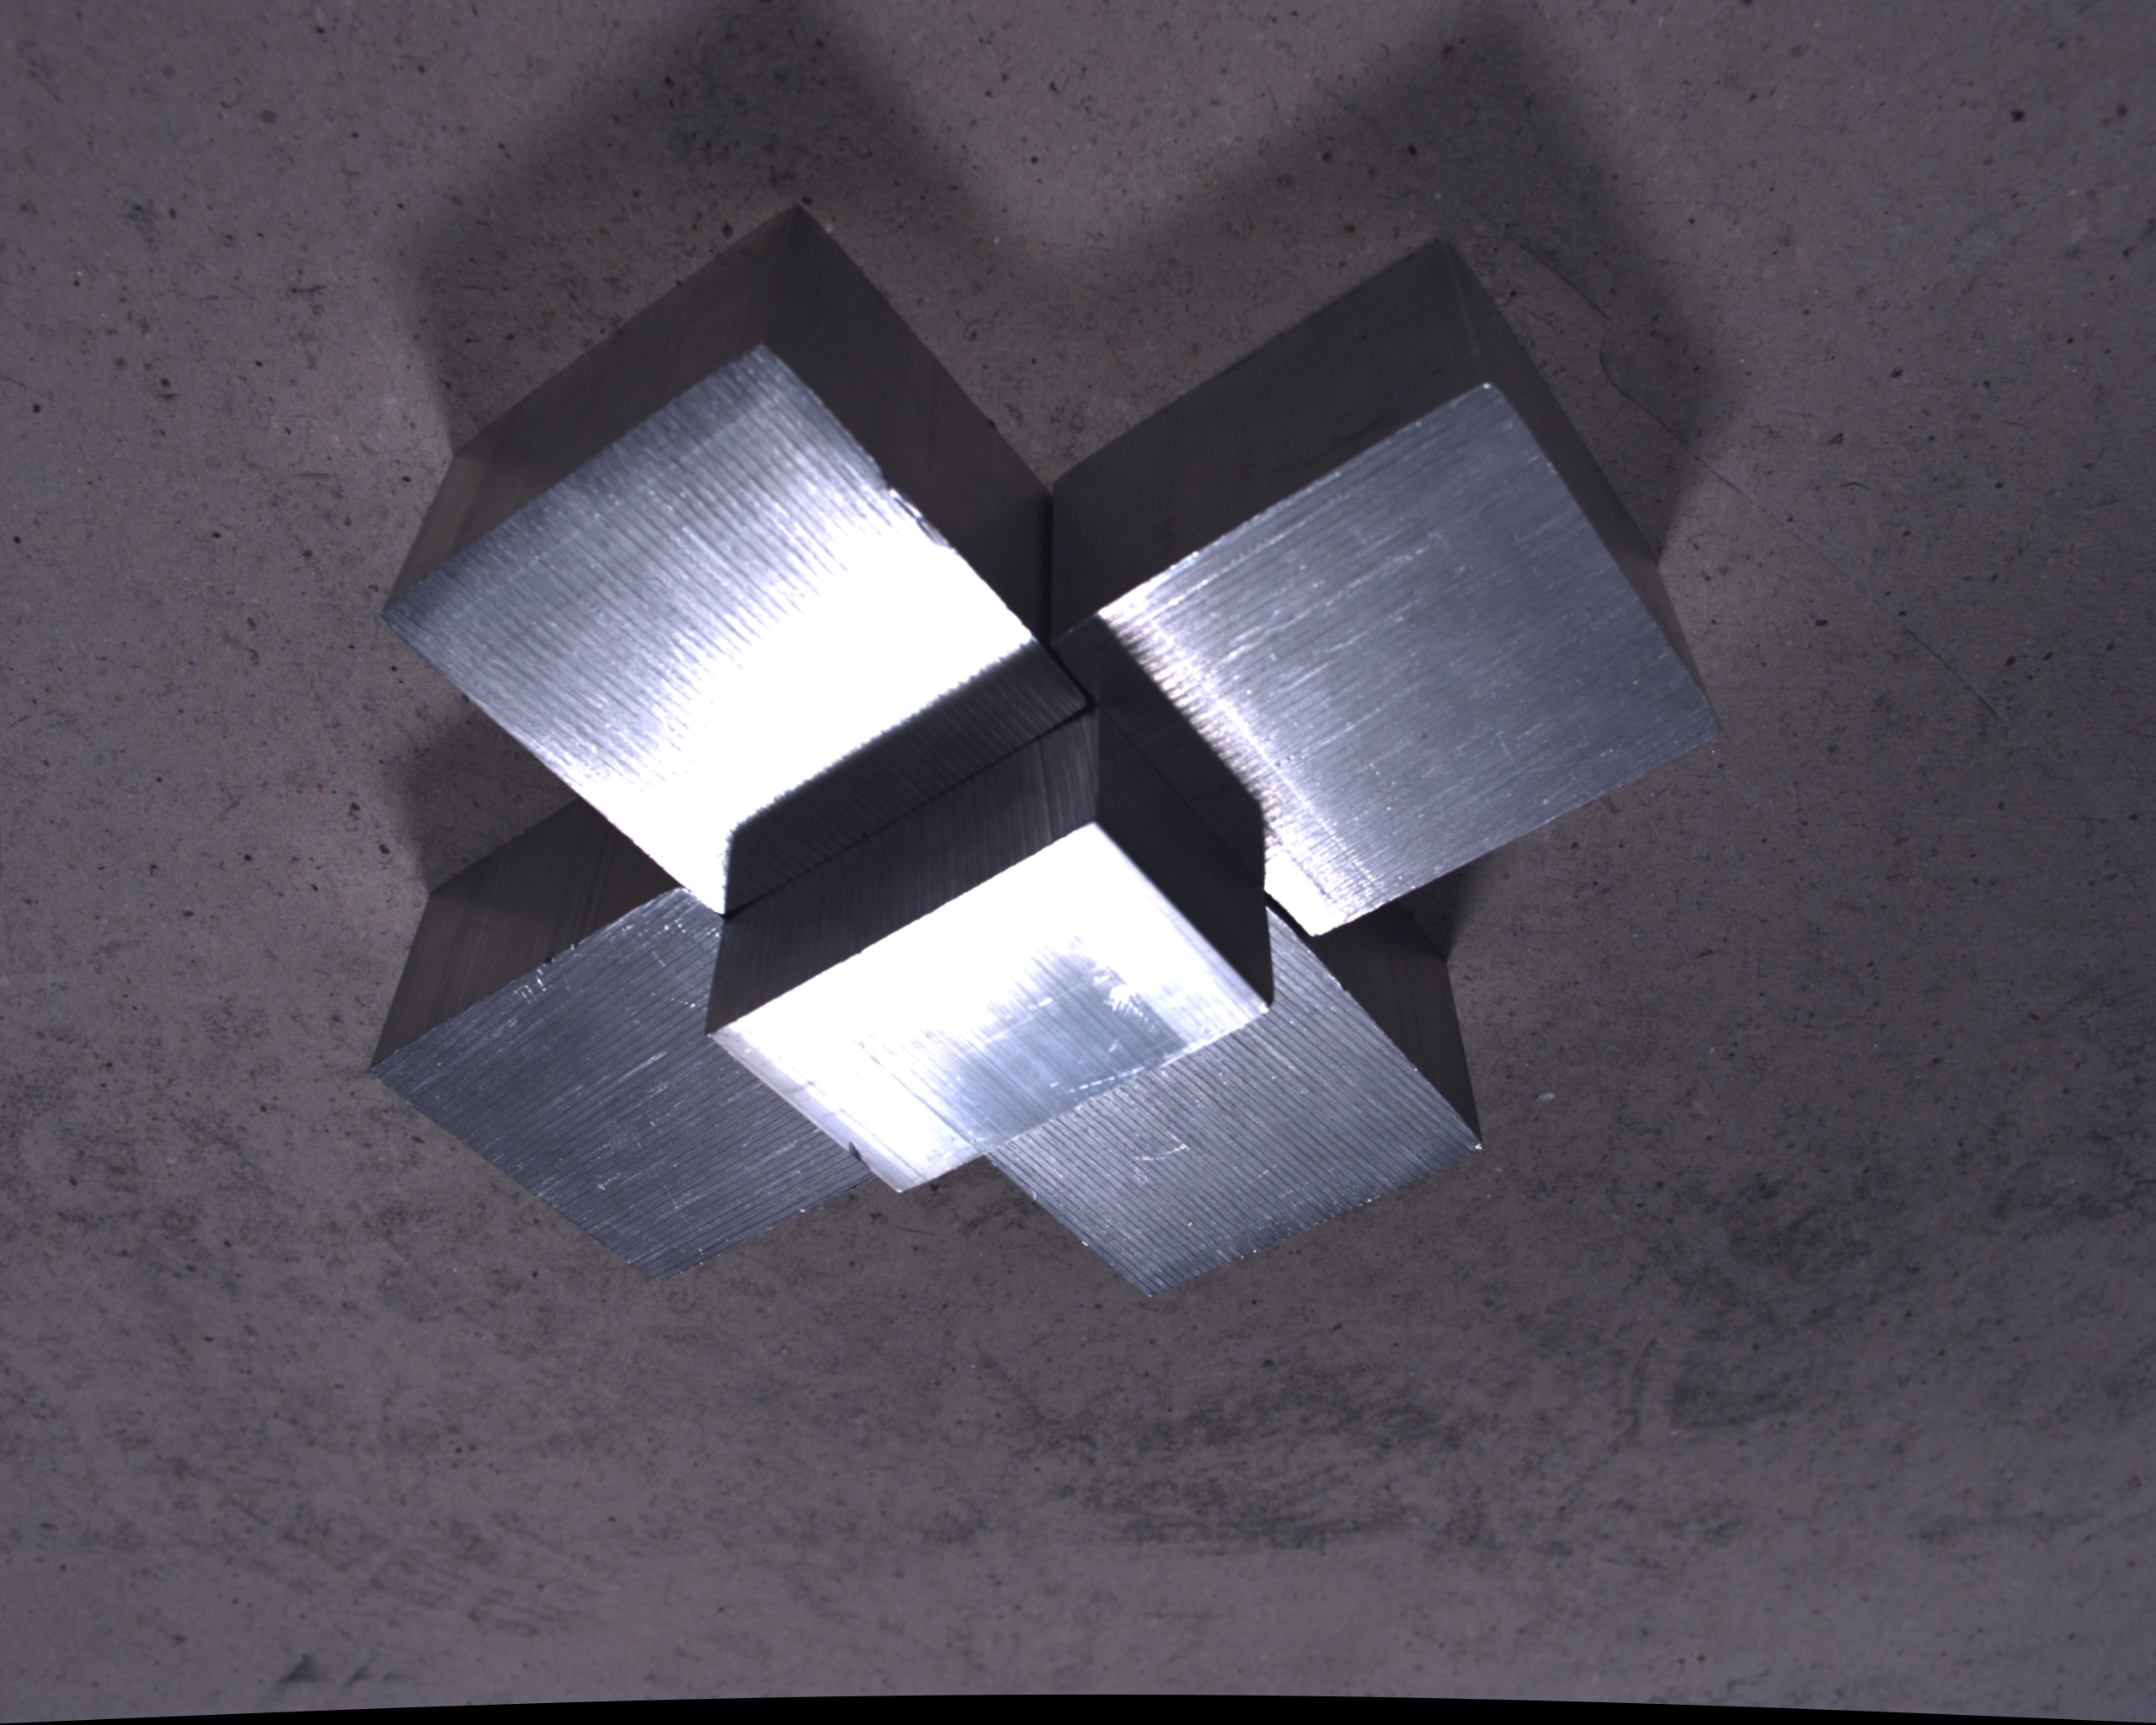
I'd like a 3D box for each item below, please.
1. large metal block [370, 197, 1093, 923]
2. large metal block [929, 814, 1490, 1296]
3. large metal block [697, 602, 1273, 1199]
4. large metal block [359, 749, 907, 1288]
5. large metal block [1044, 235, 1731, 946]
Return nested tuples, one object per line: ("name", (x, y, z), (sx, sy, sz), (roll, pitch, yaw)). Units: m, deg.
("large metal block", (-0.054, -0.048, 0.350), (0.080, 0.050, 0.080), (-29, 125, 22))
("large metal block", (0.024, 0.032, 0.419), (0.080, 0.050, 0.080), (-29, 125, 22))
("large metal block", (-0.016, 0.001, 0.373), (0.080, 0.080, 0.050), (-29, 125, 22))
("large metal block", (-0.078, 0.030, 0.416), (0.080, 0.050, 0.080), (-29, 125, 22))
("large metal block", (0.051, -0.043, 0.355), (0.080, 0.050, 0.080), (-29, 125, 22))
